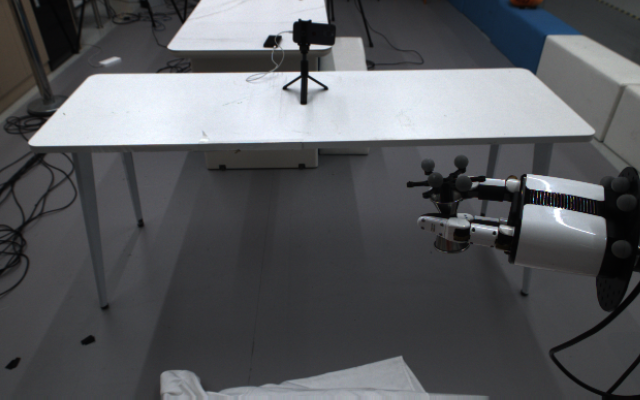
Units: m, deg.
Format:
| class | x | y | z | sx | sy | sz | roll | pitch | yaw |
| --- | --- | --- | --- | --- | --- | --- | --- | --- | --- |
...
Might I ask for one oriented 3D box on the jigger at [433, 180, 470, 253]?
| class | x | y | z | sx | sy | sz | roll | pitch | yaw |
| --- | --- | --- | --- | --- | --- | --- | --- | --- | --- |
| jigger | 0.158 | 0.023 | 0.592 | 0.043 | 0.071 | 0.043 | -11 | 23 | 5 |
